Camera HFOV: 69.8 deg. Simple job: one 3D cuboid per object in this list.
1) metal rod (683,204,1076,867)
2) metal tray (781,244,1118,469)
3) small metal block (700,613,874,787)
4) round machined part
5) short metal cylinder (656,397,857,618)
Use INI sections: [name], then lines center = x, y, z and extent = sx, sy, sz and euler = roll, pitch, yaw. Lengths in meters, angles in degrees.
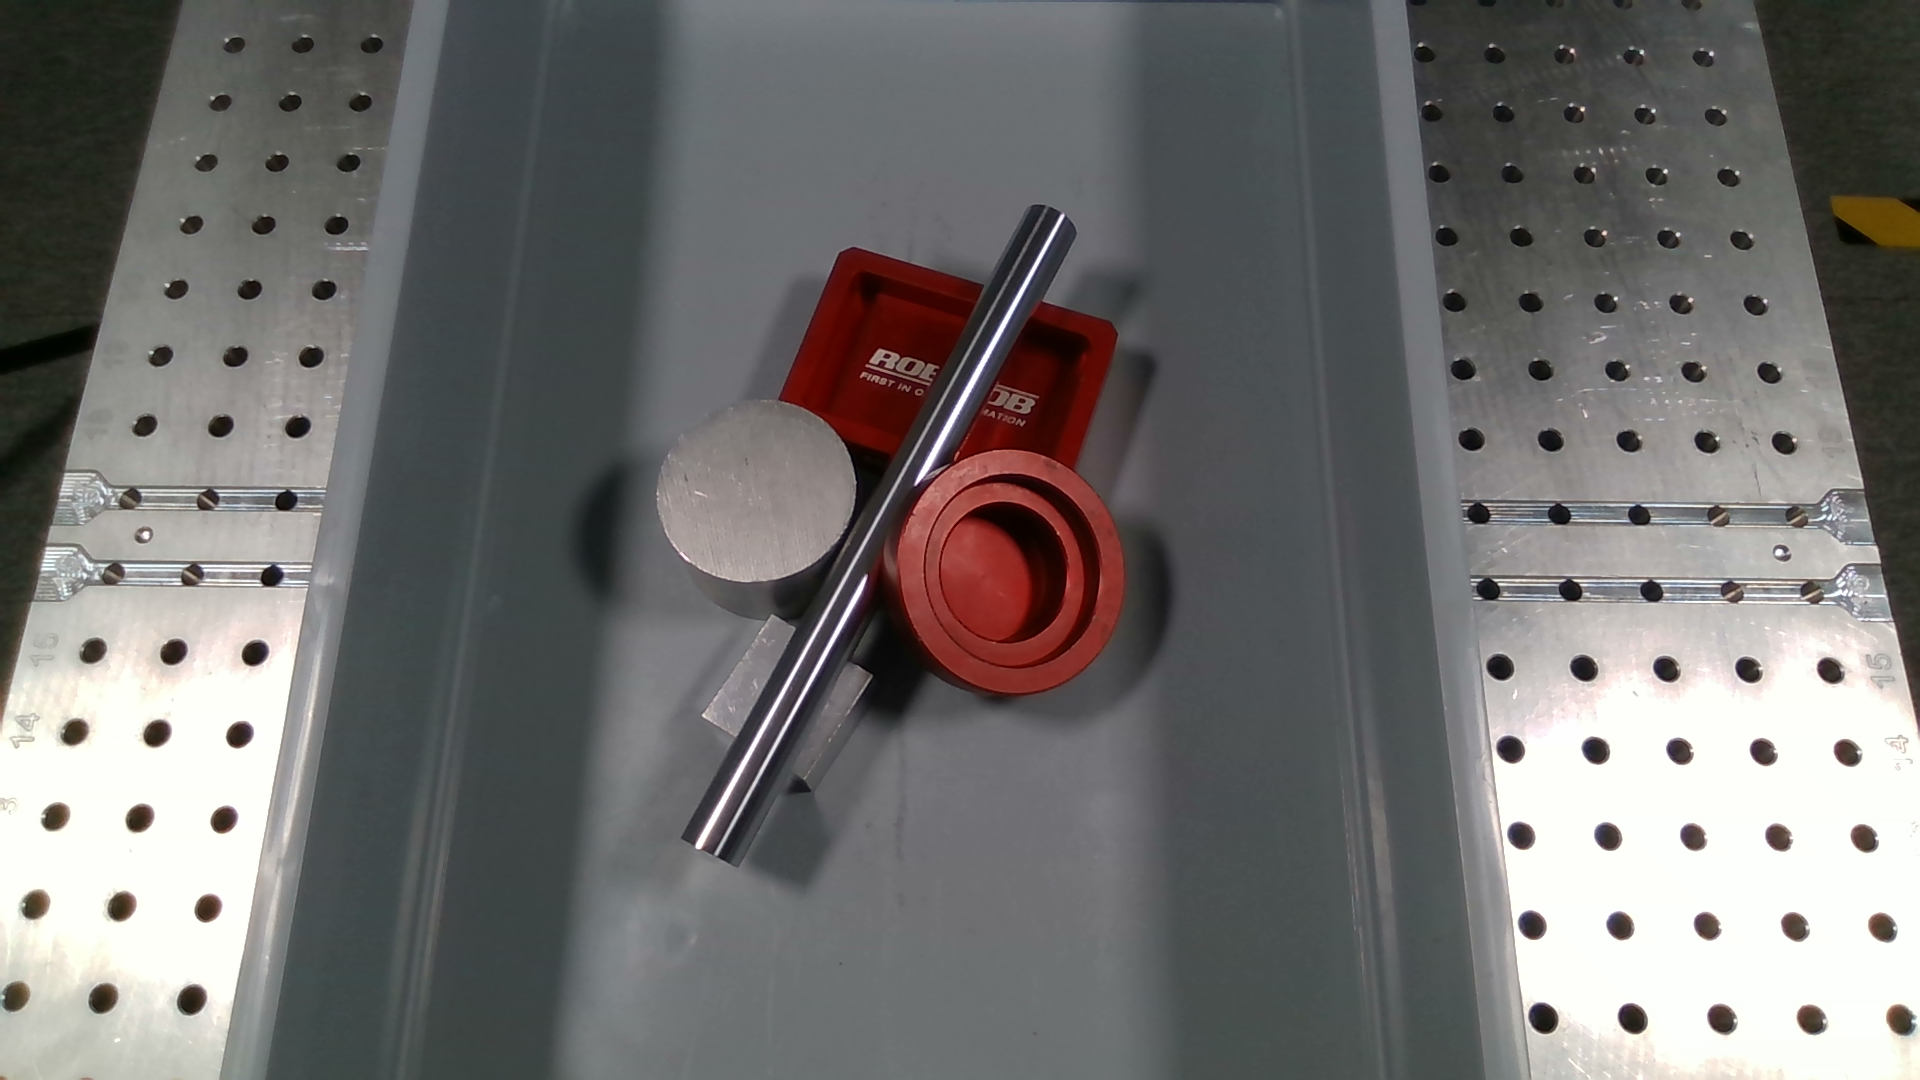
[metal rod]
center = -0.027, -0.010, 0.560
extent = 0.025, 0.025, 0.299
euler = 25, 75, 9
[metal tray]
center = -0.005, -0.070, 0.608
extent = 0.130, 0.030, 0.090
euler = 17, 71, 6
[small metal block]
center = -0.069, 0.066, 0.563
extent = 0.050, 0.025, 0.050
euler = 30, 73, 10
[round machined part]
center = 0.014, 0.014, 0.560
extent = 0.098, 0.042, 0.098
euler = 2, 84, -21
[short metal cylinder]
center = -0.082, -0.013, 0.577
extent = 0.080, 0.050, 0.080
euler = 0, 70, 0
